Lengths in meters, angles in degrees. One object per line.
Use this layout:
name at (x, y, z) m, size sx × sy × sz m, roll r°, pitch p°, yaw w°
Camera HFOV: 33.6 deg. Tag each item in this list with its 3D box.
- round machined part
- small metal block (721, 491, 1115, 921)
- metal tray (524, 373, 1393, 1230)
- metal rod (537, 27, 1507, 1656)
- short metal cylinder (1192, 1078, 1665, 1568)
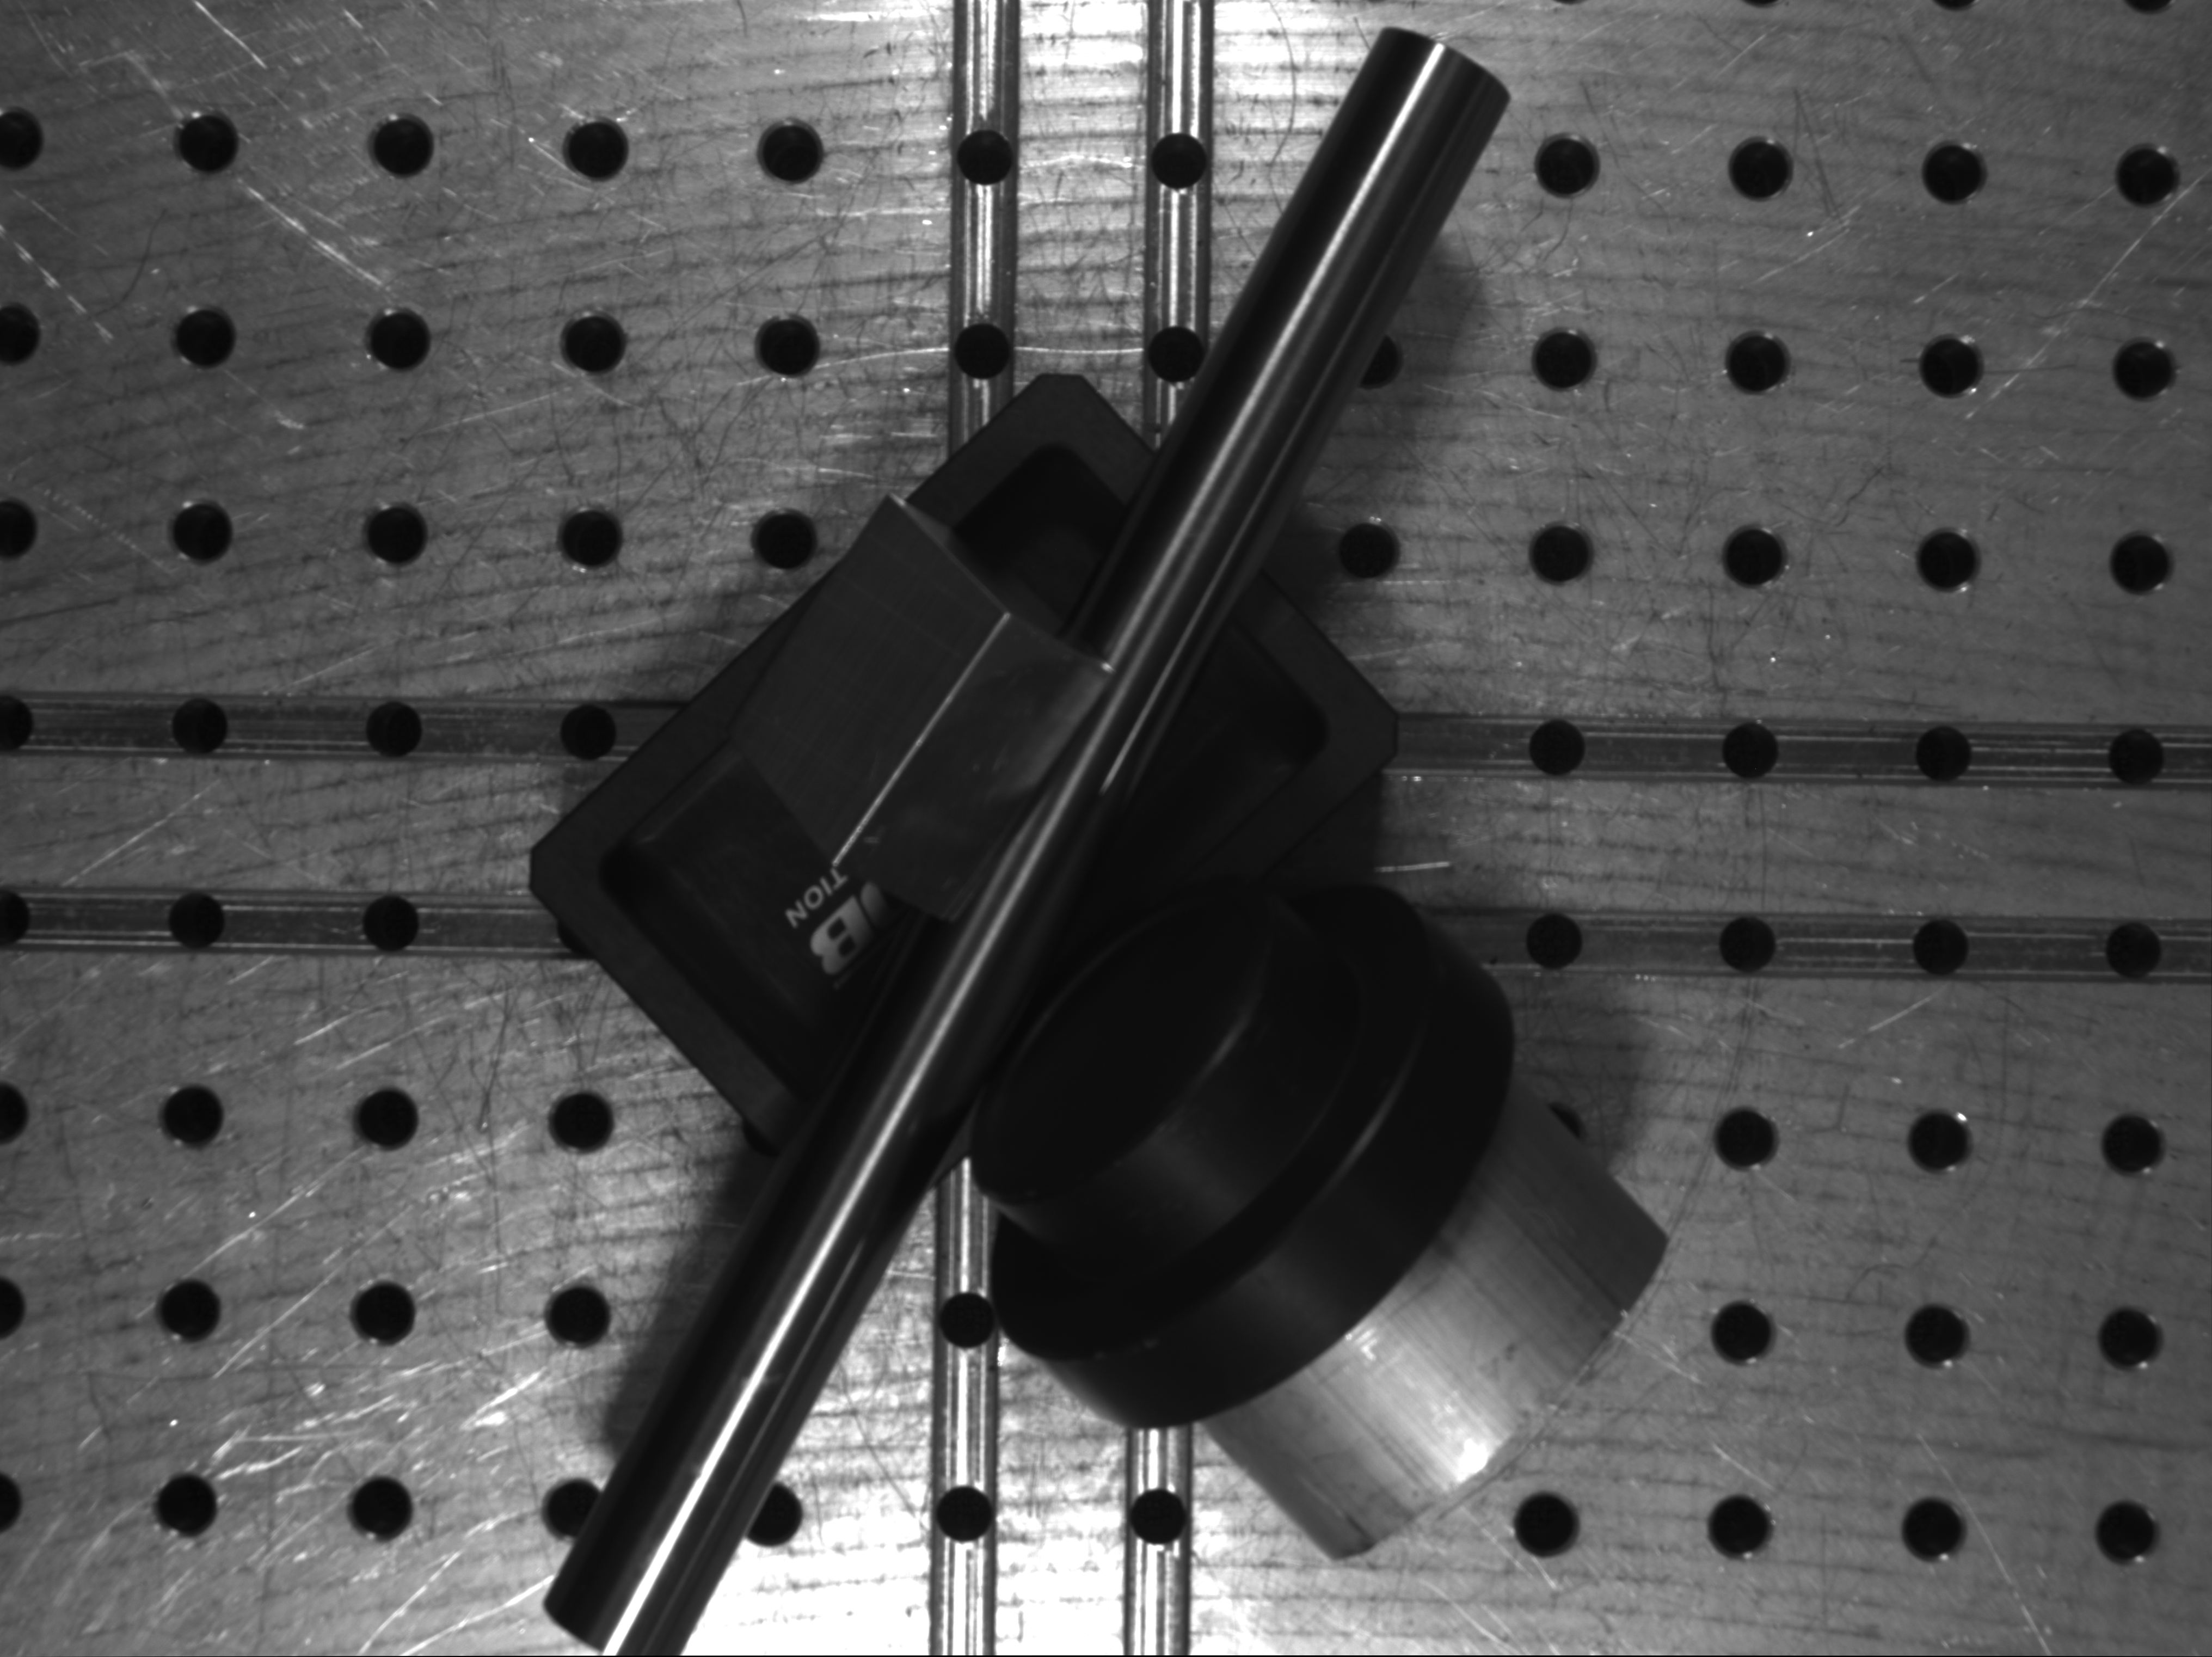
round machined part at (0.015, 0.047, 0.601) m, size 0.098 × 0.098 × 0.042 m, roll -46°, pitch 112°, yaw 0°
small metal block at (-0.032, -0.021, 0.613) m, size 0.025 × 0.050 × 0.050 m, roll 28°, pitch 102°, yaw -38°
metal tray at (-0.025, -0.005, 0.644) m, size 0.130 × 0.030 × 0.090 m, roll -43°, pitch 90°, yaw 0°
metal rod at (-0.014, 0.004, 0.617) m, size 0.025 × 0.025 × 0.300 m, roll 28°, pitch 90°, yaw 0°
short metal cylinder at (0.048, 0.078, 0.619) m, size 0.080 × 0.080 × 0.050 m, roll -43°, pitch 90°, yaw 0°
